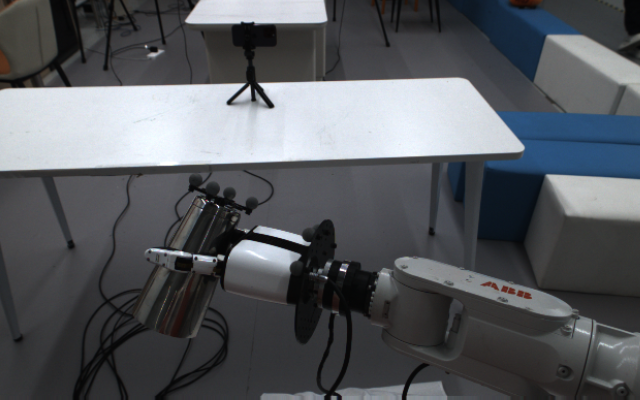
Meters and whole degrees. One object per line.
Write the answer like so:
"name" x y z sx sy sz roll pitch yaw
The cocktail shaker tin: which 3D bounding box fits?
"cocktail shaker tin" -0.168 0.082 0.640 0.093 0.170 0.093 23 0 0
